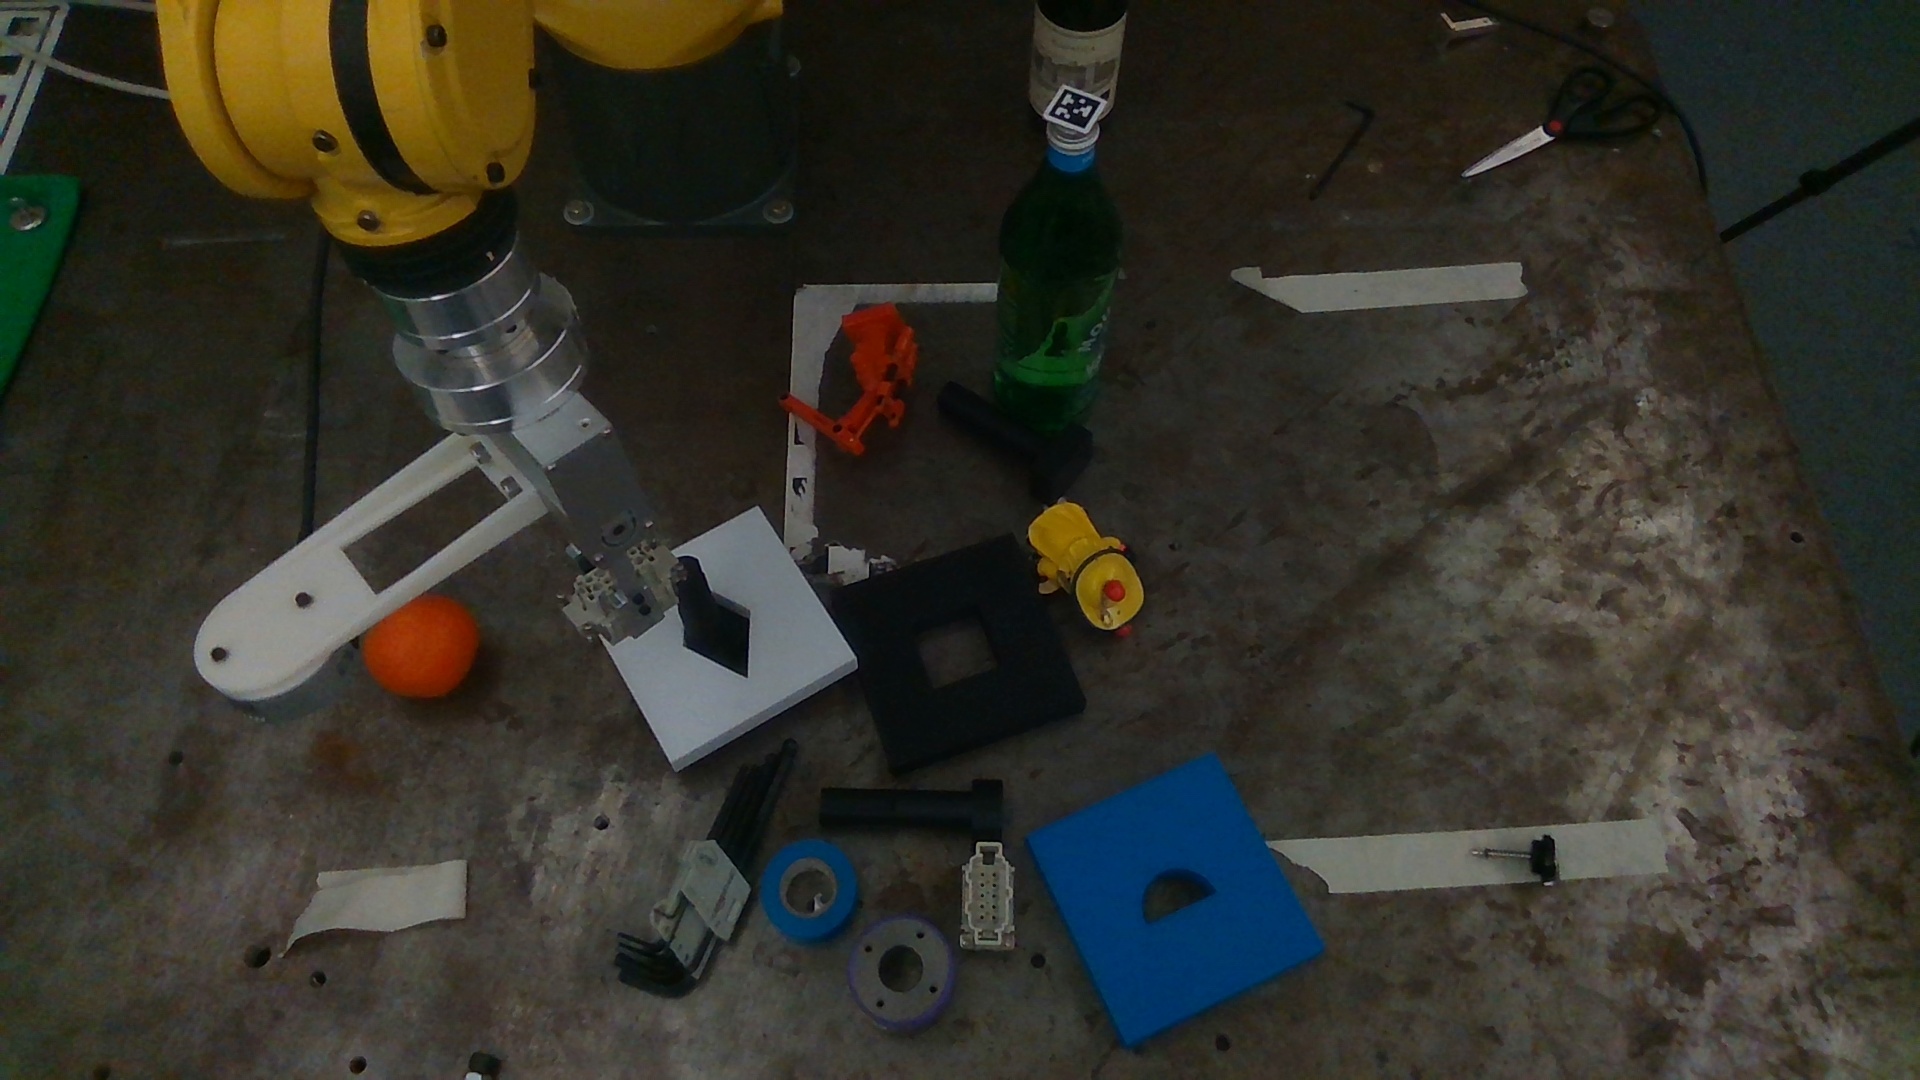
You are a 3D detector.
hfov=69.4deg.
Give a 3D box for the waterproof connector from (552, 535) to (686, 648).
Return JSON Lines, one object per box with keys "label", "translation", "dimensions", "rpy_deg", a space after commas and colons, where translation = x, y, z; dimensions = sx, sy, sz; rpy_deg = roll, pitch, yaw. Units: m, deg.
{"label": "waterproof connector", "translation": [-0.185, 0.025, 0.746], "dimensions": [0.069, 0.038, 0.037], "rpy_deg": [-37, 65, -20]}
